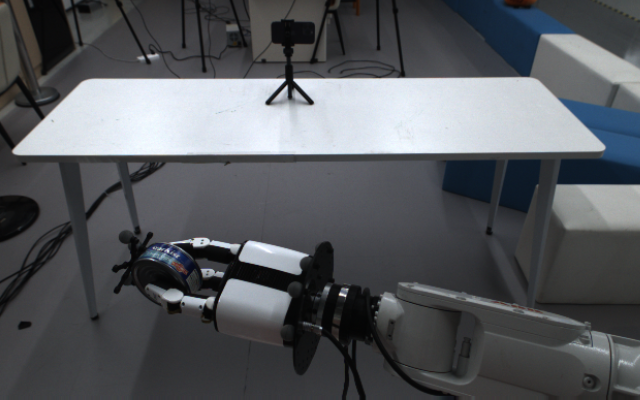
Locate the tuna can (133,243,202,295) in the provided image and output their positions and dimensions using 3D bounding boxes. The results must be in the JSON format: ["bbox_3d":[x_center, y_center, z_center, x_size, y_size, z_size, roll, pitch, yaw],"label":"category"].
[{"bbox_3d":[-0.194,0.096,0.618,0.085,0.085,0.034,11,35,13],"label":"tuna can"}]
